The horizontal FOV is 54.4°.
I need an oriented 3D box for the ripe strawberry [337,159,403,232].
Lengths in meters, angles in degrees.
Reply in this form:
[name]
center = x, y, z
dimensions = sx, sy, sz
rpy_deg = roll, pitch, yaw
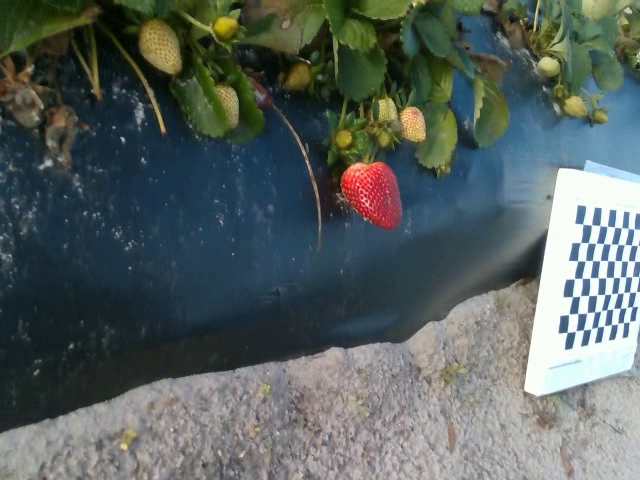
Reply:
[ripe strawberry]
center = 0.051, -0.040, 0.529
dimensions = 0.052, 0.068, 0.045
rpy_deg = -4, -32, -43
